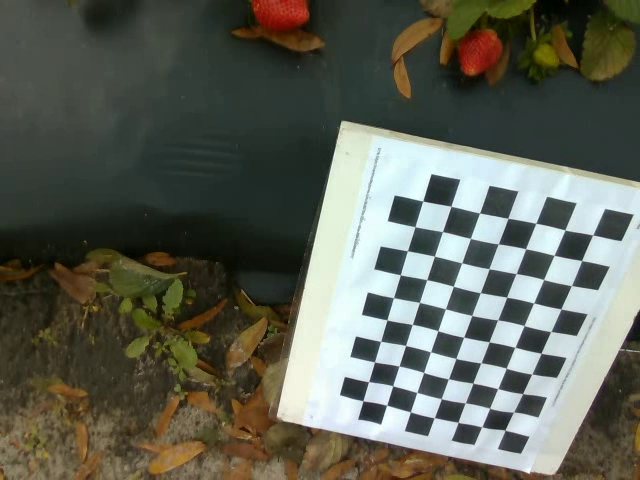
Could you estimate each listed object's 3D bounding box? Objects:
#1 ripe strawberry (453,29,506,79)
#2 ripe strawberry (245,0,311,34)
[{"bbox_3d":[0.122,-0.140,0.416,0.040,0.042,0.037,21,-25,-6],"label":"ripe strawberry"},{"bbox_3d":[-0.027,-0.177,0.409,0.042,0.047,0.065,-4,34,-38],"label":"ripe strawberry"}]
